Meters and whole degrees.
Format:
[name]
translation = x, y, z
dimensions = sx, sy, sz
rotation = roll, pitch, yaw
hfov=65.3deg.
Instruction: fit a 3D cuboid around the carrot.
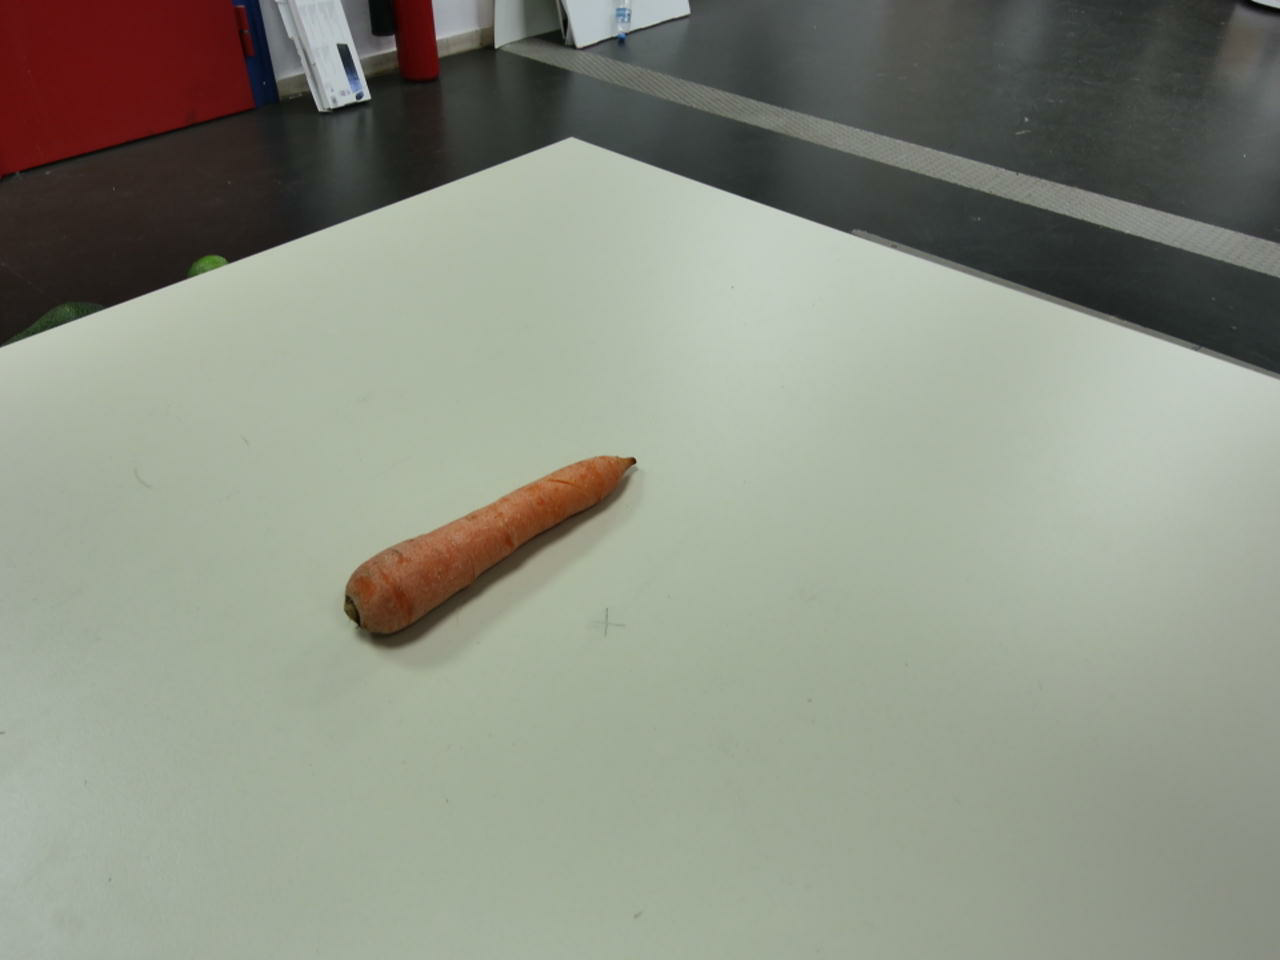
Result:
[carrot]
translation = -0.071, 0.020, 0.529
dimensions = 0.039, 0.041, 0.196
rotation = 28, 45, 31
